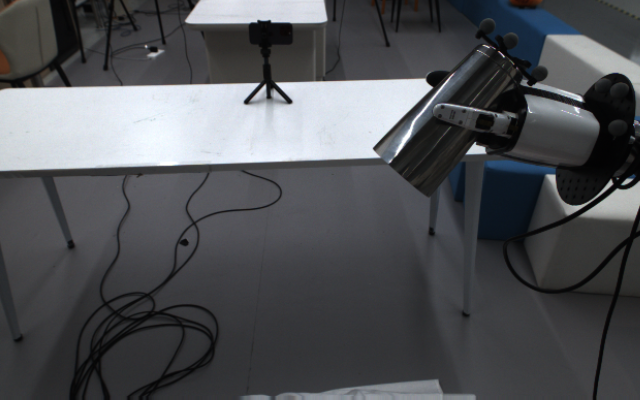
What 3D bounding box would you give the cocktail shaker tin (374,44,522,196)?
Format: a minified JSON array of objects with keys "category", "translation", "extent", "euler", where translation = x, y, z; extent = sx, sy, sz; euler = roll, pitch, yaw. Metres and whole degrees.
[{"category":"cocktail shaker tin","translation":[0.154,-0.101,0.577],"extent":[0.093,0.170,0.093],"euler":[41,12,-11]}]
